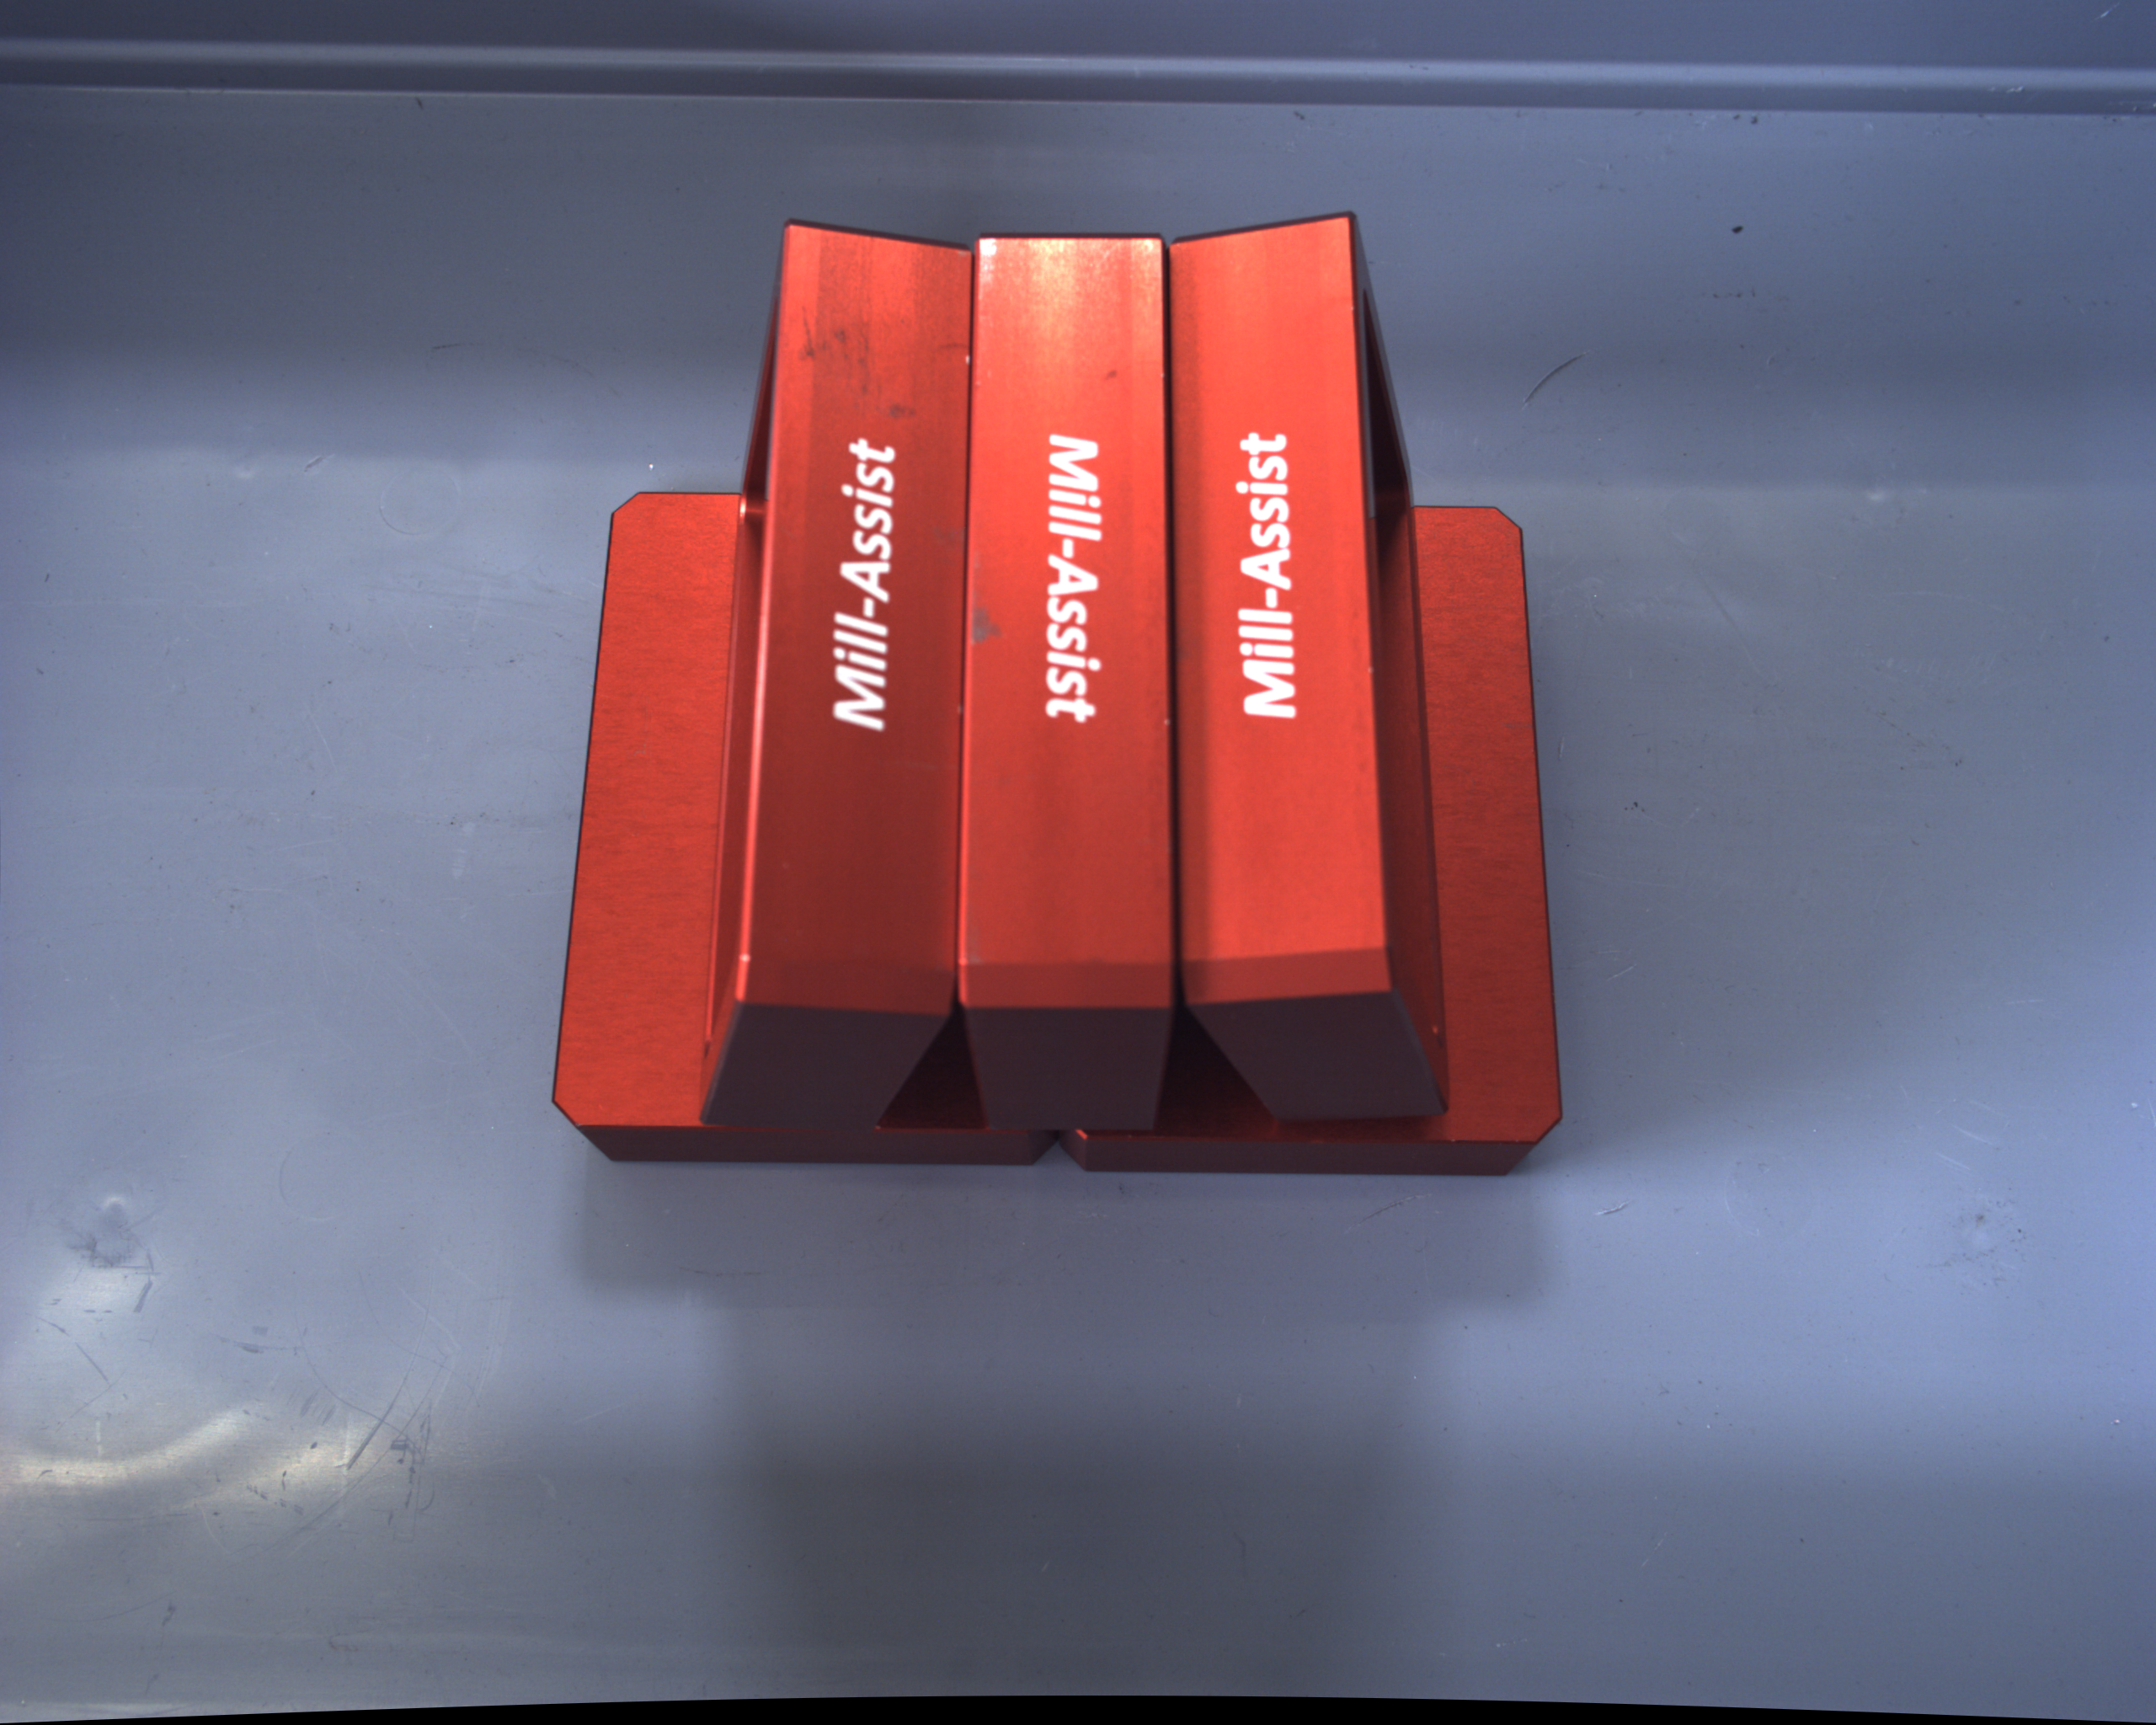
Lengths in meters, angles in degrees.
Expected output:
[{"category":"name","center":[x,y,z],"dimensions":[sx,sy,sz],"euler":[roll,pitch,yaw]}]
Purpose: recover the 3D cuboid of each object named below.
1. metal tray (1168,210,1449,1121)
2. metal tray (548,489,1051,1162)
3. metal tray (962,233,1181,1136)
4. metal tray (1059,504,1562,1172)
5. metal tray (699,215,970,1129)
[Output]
[{"category":"metal tray","center":[0.040,-0.029,0.350],"dimensions":[0.030,0.090,0.130],"euler":[-5,70,14]},{"category":"metal tray","center":[-0.049,-0.009,0.407],"dimensions":[0.091,0.030,0.130],"euler":[1,70,0]},{"category":"metal tray","center":[-0.001,-0.027,0.350],"dimensions":[0.030,0.090,0.130],"euler":[0,68,0]},{"category":"metal tray","center":[0.042,-0.007,0.408],"dimensions":[0.091,0.030,0.130],"euler":[1,70,0]},{"category":"metal tray","center":[-0.042,-0.028,0.348],"dimensions":[0.030,0.090,0.130],"euler":[5,70,-12]}]
